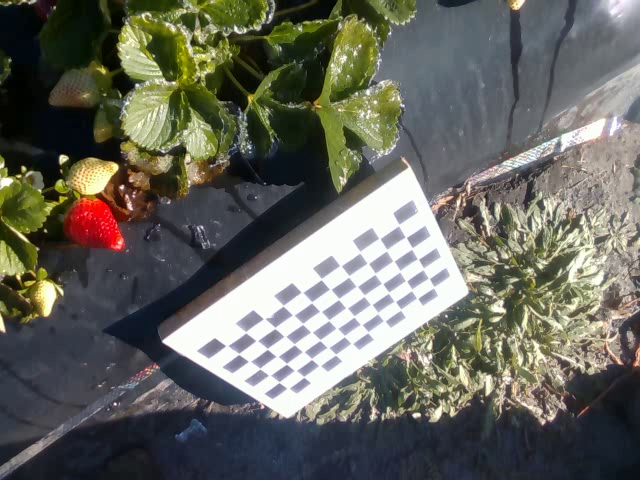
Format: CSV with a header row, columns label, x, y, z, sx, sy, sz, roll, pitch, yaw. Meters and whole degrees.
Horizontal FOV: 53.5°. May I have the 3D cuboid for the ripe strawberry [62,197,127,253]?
label,x,y,z,sx,sy,sz,roll,pitch,yaw
ripe strawberry,-0.160,-0.007,0.451,0.053,0.040,0.042,36,28,19
